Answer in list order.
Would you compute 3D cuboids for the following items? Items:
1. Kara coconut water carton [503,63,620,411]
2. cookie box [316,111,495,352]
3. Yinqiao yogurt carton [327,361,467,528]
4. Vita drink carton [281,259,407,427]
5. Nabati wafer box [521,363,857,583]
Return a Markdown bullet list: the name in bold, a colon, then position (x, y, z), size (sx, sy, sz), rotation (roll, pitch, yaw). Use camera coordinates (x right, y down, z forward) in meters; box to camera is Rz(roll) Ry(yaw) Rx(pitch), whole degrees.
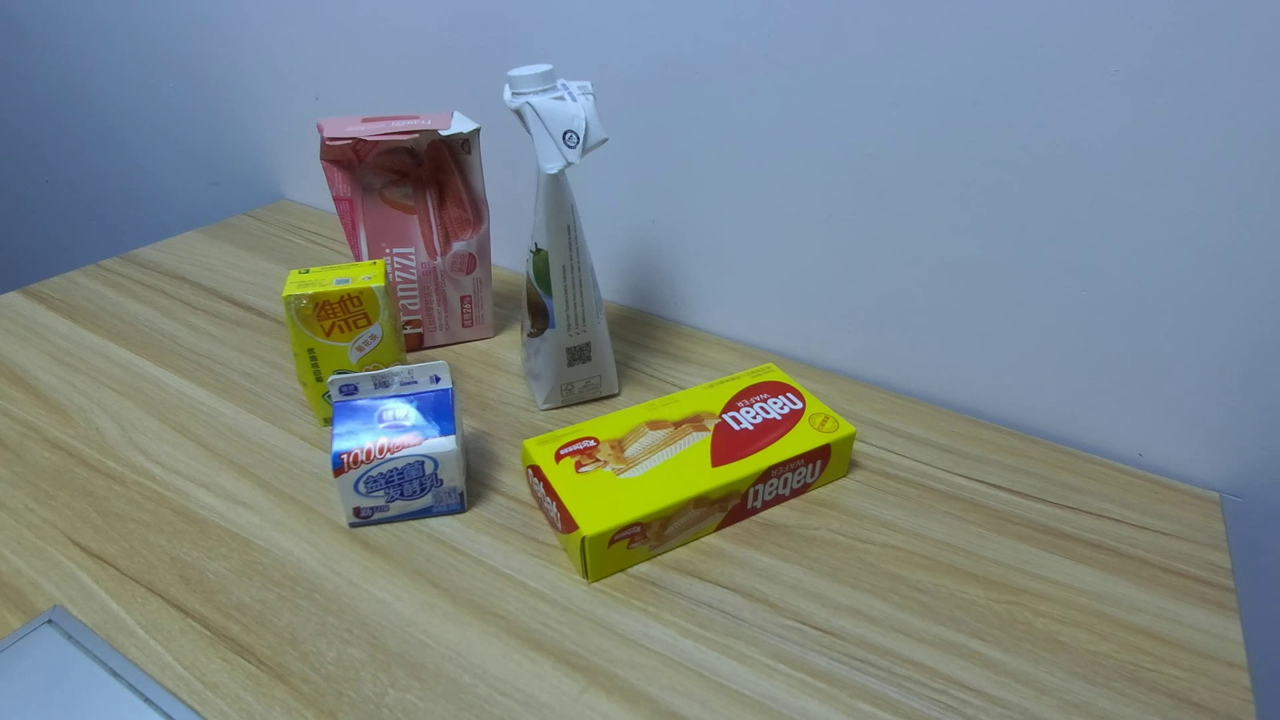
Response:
- **Kara coconut water carton**: position (-0.056, -0.083, 0.502), size (0.069, 0.239, 0.114), rotation (-10, 35, -15)
- **cookie box**: position (-0.179, -0.097, 0.564), size (0.119, 0.184, 0.055), rotation (-9, 36, -15)
- **Yinqiao yogurt carton**: position (-0.151, 0.042, 0.440), size (0.076, 0.092, 0.073), rotation (-7, 35, -13)
- **Vita drink carton**: position (-0.207, -0.011, 0.499), size (0.076, 0.109, 0.043), rotation (-8, 35, -14)
- **Nabati wafer box**: position (0.036, 0.064, 0.464), size (0.203, 0.042, 0.092), rotation (-16, 37, -23)
